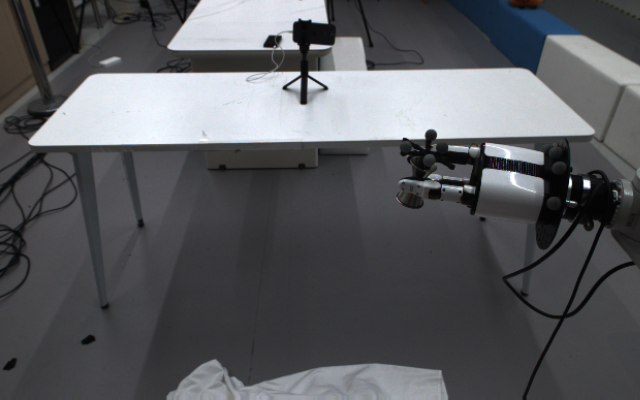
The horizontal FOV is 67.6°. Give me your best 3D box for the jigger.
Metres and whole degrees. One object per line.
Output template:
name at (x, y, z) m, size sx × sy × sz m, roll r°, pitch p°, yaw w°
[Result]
jigger at (0.143, -0.028, 0.725) m, size 0.043 × 0.071 × 0.043 m, roll 10°, pitch 36°, yaw -7°
